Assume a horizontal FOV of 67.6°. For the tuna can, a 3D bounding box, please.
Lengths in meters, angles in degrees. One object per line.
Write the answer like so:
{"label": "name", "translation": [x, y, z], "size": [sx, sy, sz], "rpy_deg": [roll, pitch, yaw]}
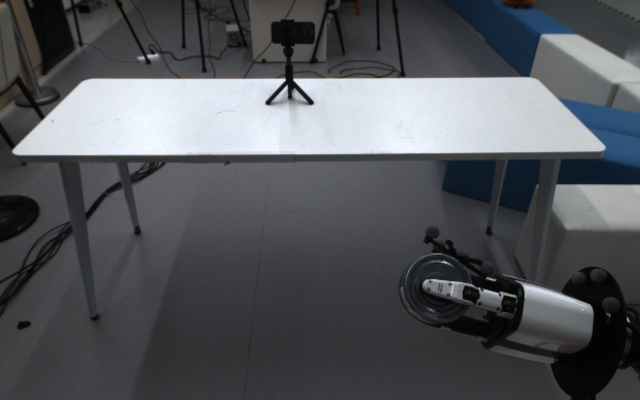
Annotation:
{"label": "tuna can", "translation": [0.146, 0.106, 0.595], "size": [0.085, 0.034, 0.085], "rpy_deg": [0, 74, -1]}
